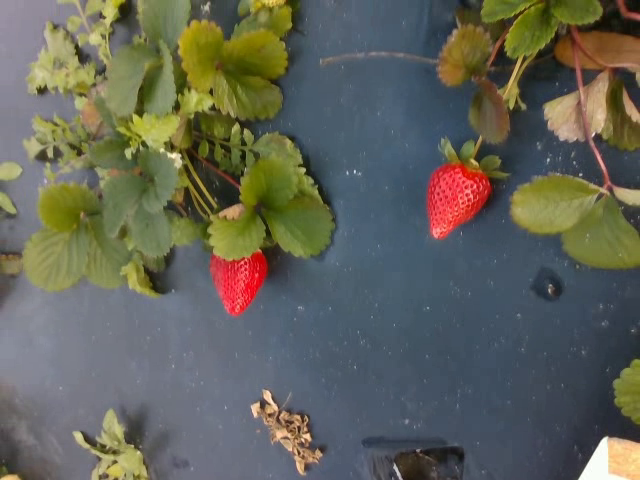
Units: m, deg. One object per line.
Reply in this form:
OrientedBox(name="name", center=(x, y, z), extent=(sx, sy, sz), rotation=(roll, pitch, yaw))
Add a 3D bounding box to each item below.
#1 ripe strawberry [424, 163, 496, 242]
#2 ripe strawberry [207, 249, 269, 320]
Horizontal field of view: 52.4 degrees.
OrientedBox(name="ripe strawberry", center=(0.072, -0.018, 0.350), extent=(0.044, 0.052, 0.041), rotation=(25, -3, -9))
OrientedBox(name="ripe strawberry", center=(-0.057, 0.027, 0.427), extent=(0.050, 0.050, 0.046), rotation=(9, -31, 7))
